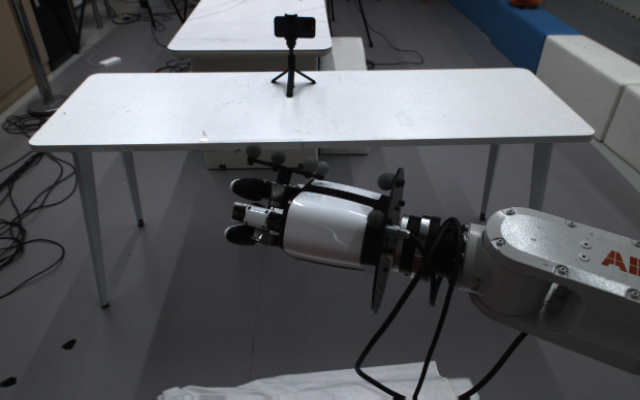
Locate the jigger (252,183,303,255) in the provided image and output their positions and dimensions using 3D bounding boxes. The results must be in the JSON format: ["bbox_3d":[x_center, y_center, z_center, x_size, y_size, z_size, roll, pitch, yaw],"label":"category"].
[{"bbox_3d":[-0.047,0.015,0.551,0.043,0.071,0.043,14,1,0],"label":"jigger"}]
